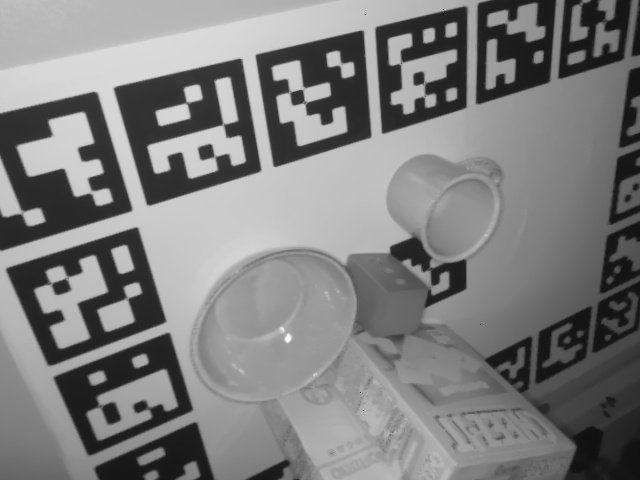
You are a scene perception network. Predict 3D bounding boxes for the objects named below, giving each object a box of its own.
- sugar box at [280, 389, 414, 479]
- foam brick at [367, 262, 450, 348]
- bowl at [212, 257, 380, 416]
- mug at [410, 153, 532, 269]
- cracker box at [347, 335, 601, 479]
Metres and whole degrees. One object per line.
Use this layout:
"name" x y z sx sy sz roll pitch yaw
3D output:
"sugar box" 0.038 0.214 0.676 0.094 0.175 0.045 1 114 -29
"foam brick" 0.085 0.064 0.695 0.053 0.077 0.051 -5 117 -27
"bowl" -0.028 0.078 0.635 0.164 0.055 0.160 -12 118 -23
"mug" 0.151 -0.037 0.669 0.118 0.081 0.093 -28 132 -16
"cracker box" 0.143 0.175 0.693 0.166 0.213 0.071 10 111 -31
